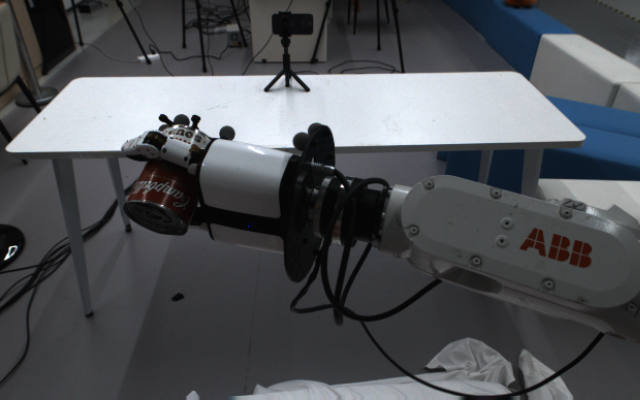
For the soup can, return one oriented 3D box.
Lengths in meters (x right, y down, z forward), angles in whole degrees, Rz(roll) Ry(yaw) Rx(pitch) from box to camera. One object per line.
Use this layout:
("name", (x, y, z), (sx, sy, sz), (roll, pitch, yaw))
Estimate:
("soup can", (-0.155, -0.021, 0.516), (0.067, 0.067, 0.101), (9, 58, 10))
